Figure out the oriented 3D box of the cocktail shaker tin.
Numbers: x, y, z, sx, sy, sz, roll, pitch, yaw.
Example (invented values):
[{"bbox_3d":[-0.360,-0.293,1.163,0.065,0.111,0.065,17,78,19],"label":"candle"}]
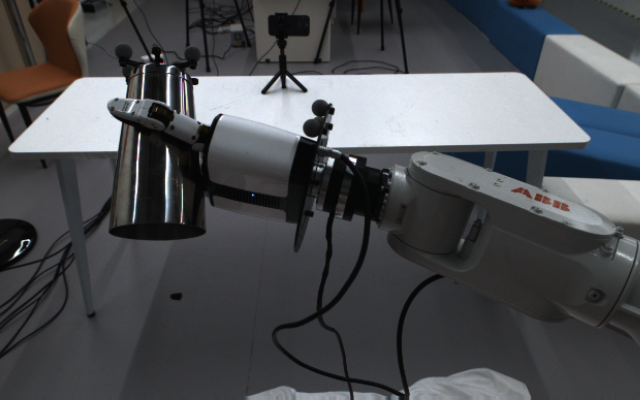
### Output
[{"bbox_3d":[-0.165,-0.048,0.502,0.093,0.093,0.170,-3,76,-7],"label":"cocktail shaker tin"}]
